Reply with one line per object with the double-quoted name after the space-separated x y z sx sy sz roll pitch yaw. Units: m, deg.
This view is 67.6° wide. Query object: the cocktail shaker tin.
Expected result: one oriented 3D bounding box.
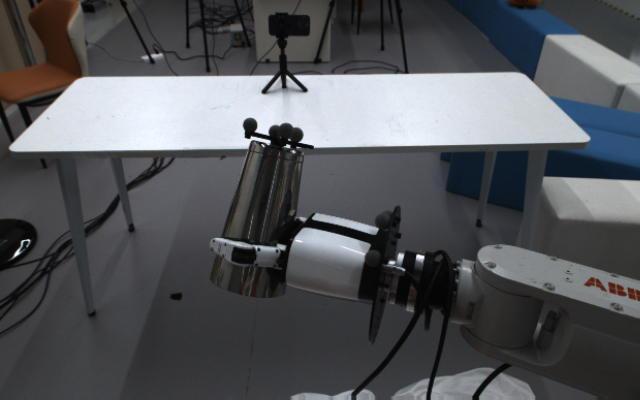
-0.068 0.020 0.579 0.093 0.170 0.093 13 4 -1 "cocktail shaker tin"
